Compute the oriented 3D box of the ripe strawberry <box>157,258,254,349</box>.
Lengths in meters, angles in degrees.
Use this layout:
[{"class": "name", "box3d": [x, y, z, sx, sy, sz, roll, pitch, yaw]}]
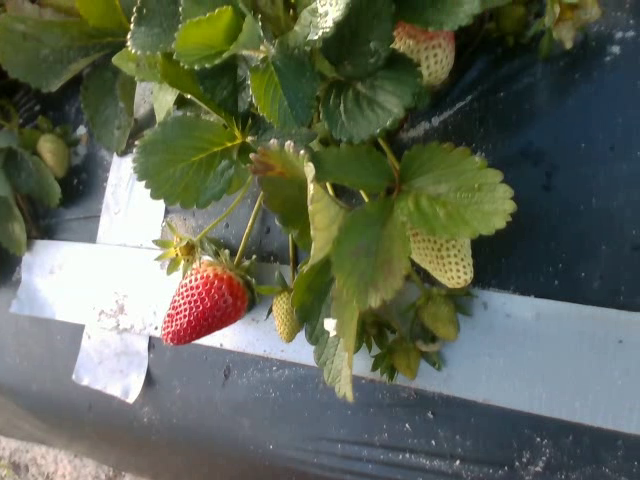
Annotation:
[{"class": "ripe strawberry", "box3d": [-0.030, 0.017, 0.154, 0.023, 0.026, 0.020, 28, -12, 50]}]
